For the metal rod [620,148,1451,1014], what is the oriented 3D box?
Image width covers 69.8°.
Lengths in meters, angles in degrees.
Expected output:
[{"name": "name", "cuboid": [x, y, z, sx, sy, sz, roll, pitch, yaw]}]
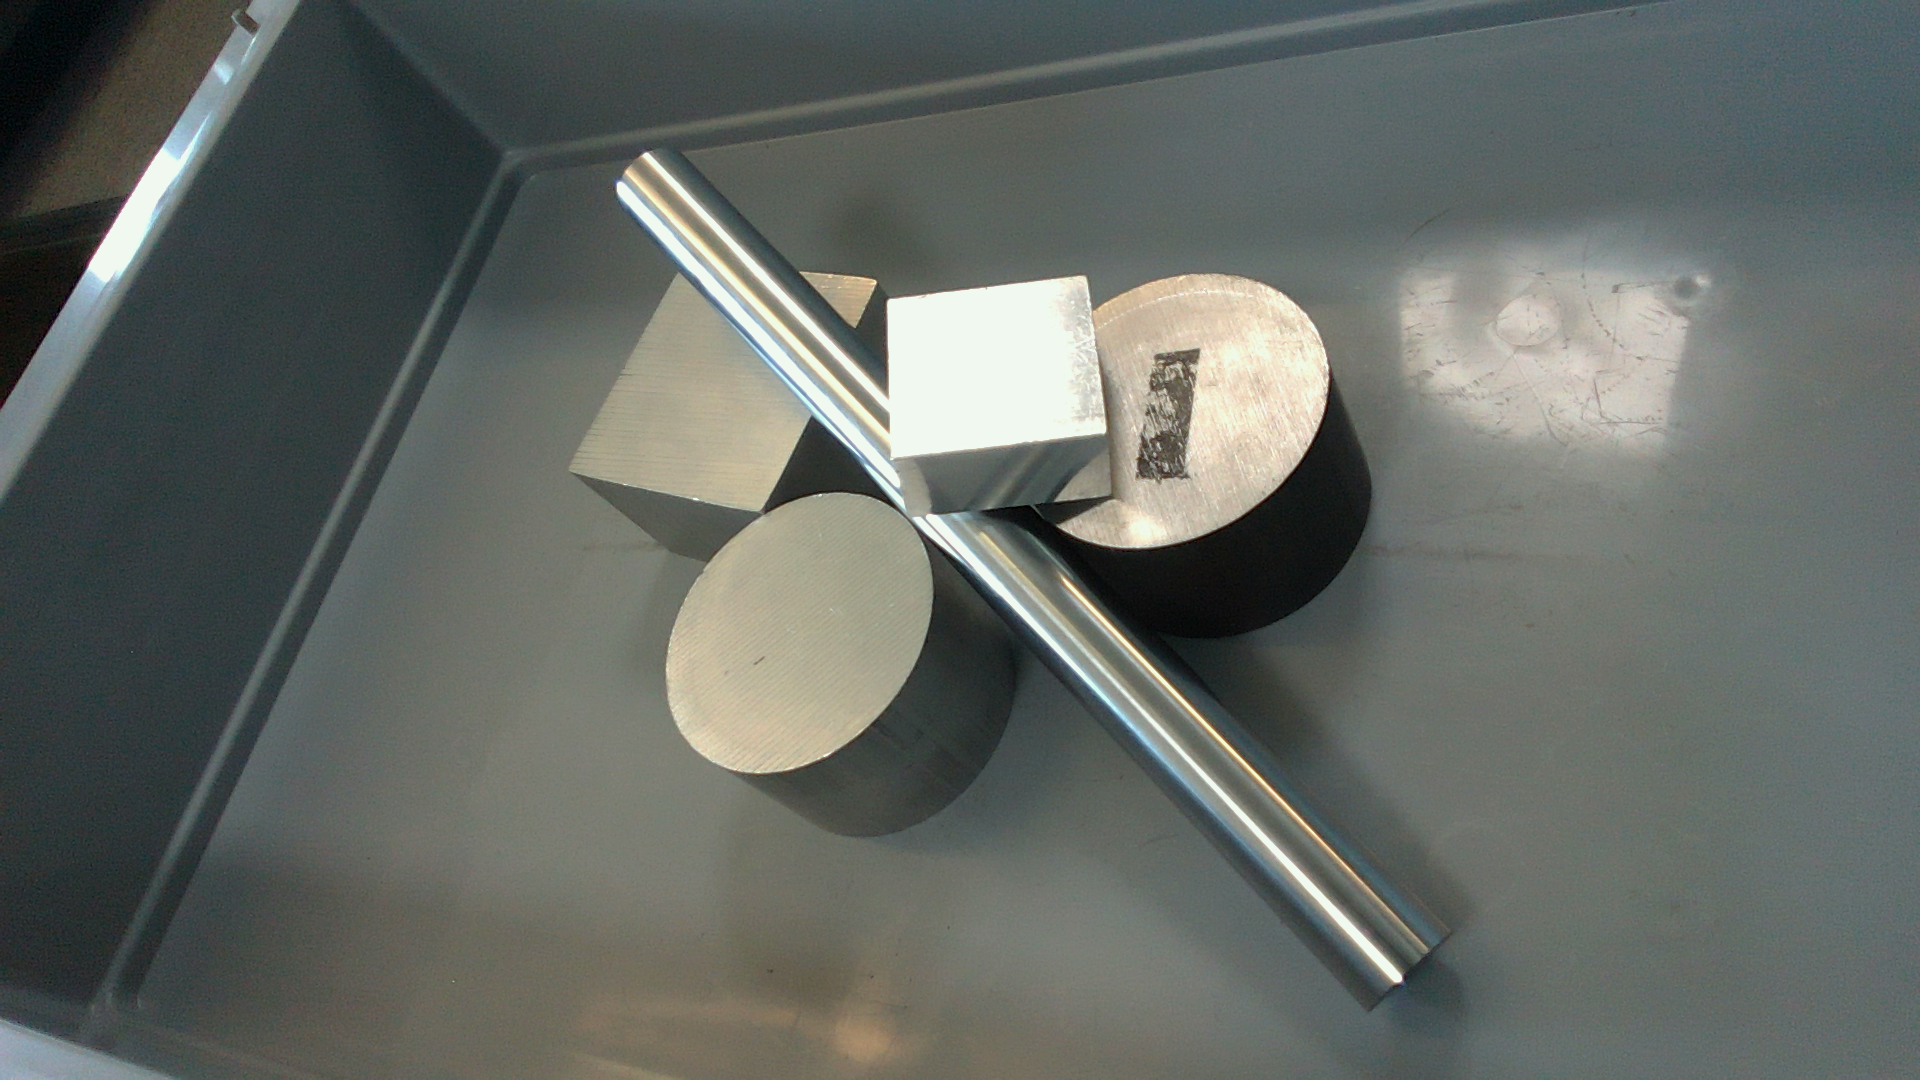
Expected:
[{"name": "metal rod", "cuboid": [0.001, -0.008, 0.351, 0.025, 0.025, 0.299, -43, 65, -1]}]

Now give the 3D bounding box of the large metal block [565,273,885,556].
[{"name": "large metal block", "cuboid": [-0.062, -0.037, 0.430, 0.080, 0.050, 0.080, 11, 67, 33]}]

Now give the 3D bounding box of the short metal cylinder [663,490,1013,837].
[{"name": "short metal cylinder", "cuboid": [-0.032, 0.034, 0.373, 0.080, 0.050, 0.080, -13, 56, 21]}]

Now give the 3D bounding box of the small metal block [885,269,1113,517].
[{"name": "small metal block", "cuboid": [0.009, -0.036, 0.336, 0.050, 0.025, 0.050, -7, 56, 4]}]

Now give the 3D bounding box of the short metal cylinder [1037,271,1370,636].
[{"name": "short metal cylinder", "cuboid": [0.061, -0.022, 0.357, 0.080, 0.050, 0.080, -13, 56, 21]}]
